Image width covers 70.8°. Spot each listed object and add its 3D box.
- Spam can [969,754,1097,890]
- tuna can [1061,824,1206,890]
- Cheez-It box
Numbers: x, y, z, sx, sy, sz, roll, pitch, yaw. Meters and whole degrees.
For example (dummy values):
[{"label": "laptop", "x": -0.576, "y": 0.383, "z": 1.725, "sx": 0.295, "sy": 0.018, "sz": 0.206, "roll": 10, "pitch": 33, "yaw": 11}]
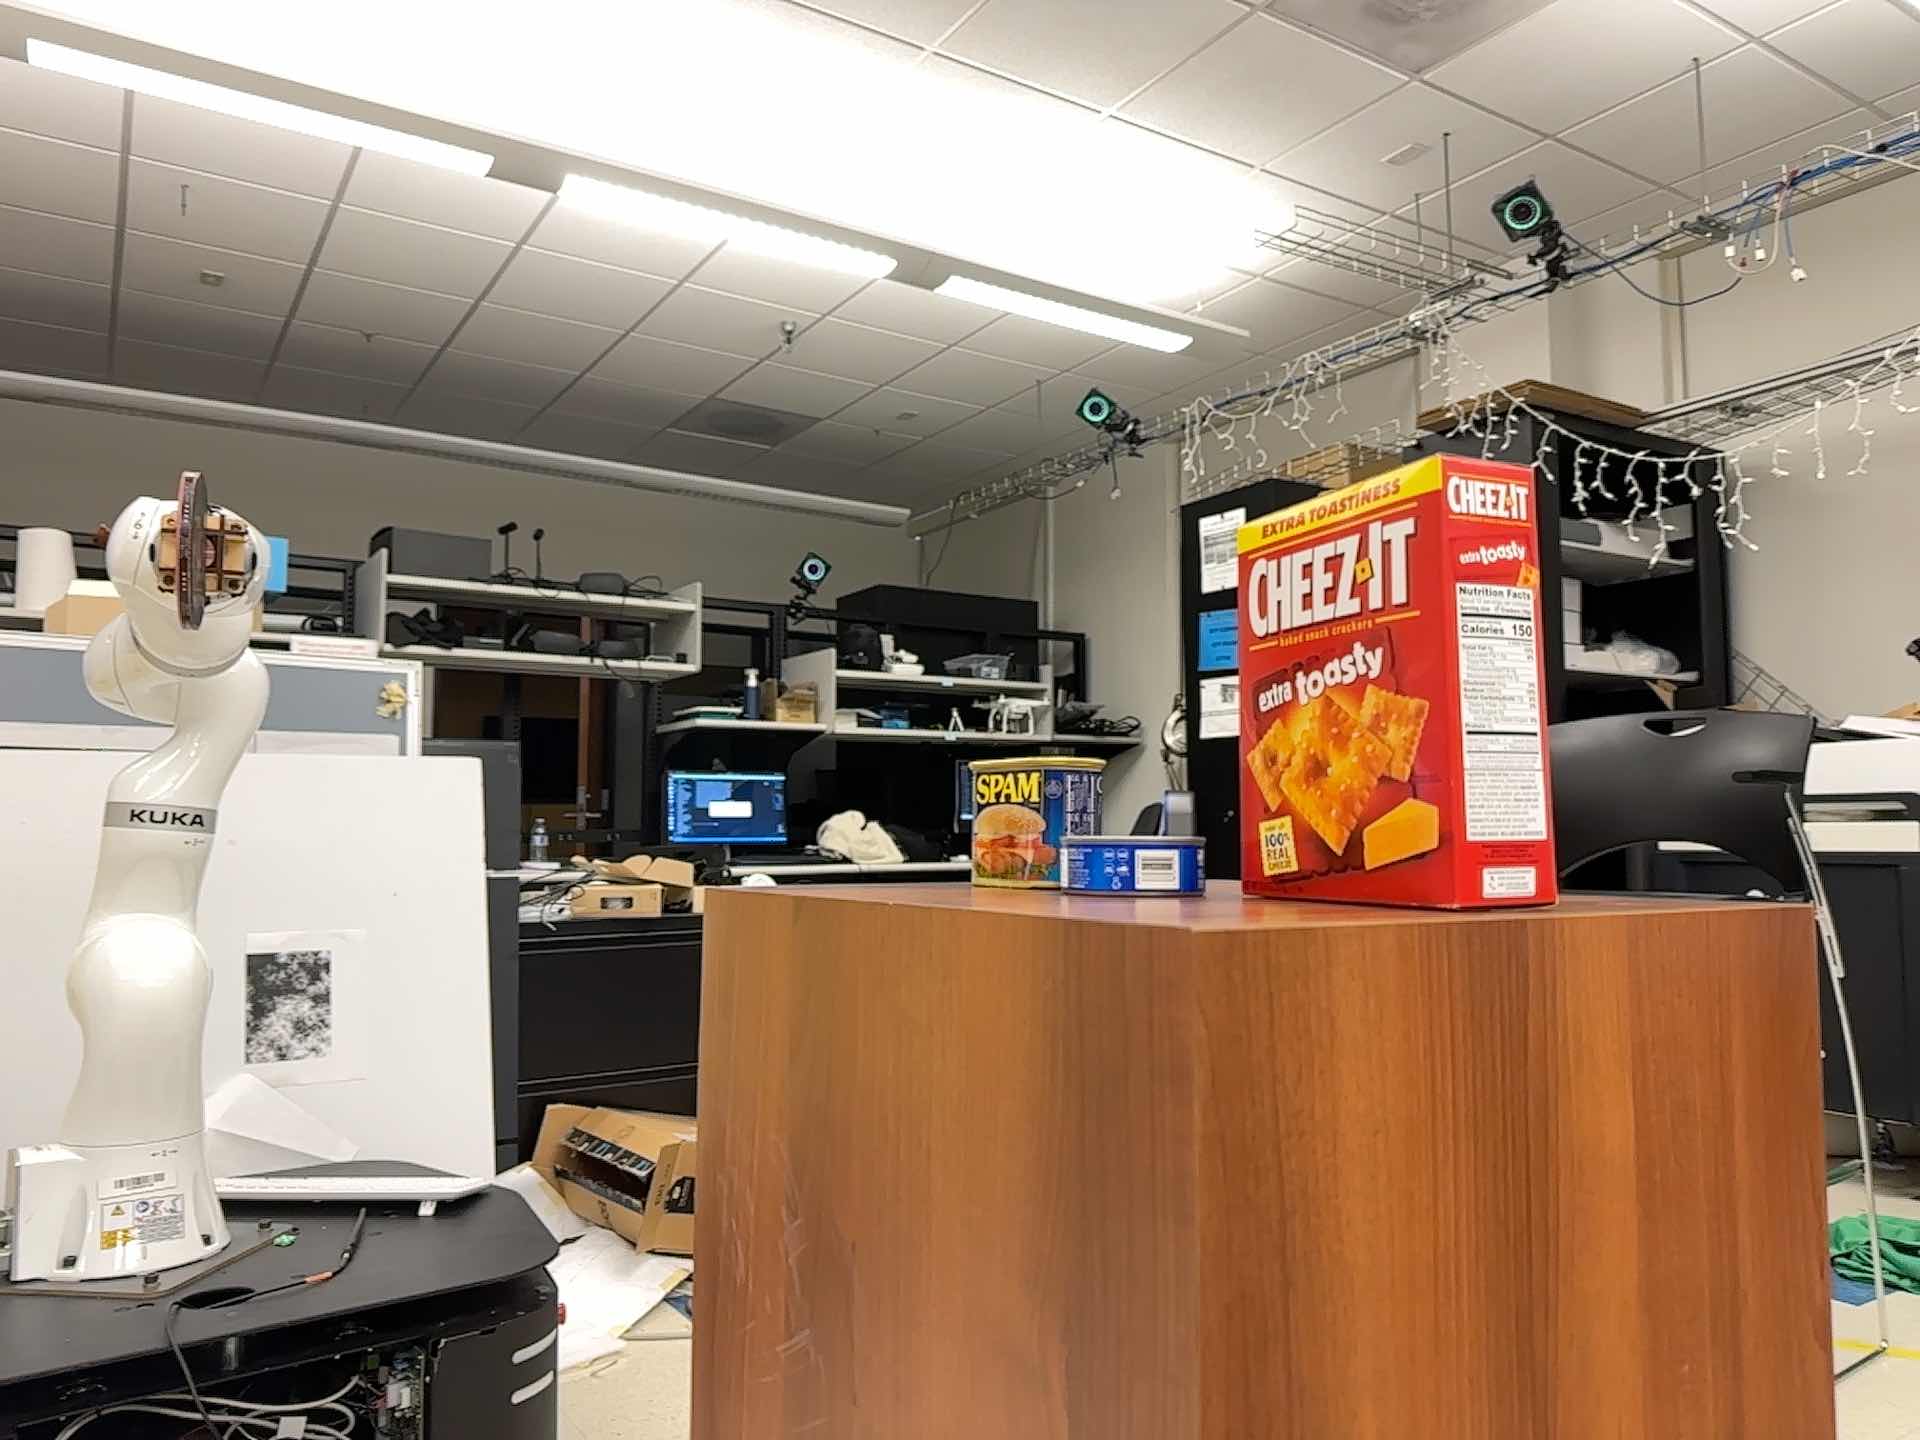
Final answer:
[{"label": "Spam can", "x": 0.047, "y": 0.070, "z": 0.896, "sx": 0.056, "sy": 0.083, "sz": 0.100, "roll": 3, "pitch": -8, "yaw": -24}, {"label": "tuna can", "x": 0.102, "y": 0.081, "z": 0.796, "sx": 0.083, "sy": 0.034, "sz": 0.083, "roll": 1, "pitch": -9, "yaw": 0}, {"label": "Cheez-It box", "x": 0.223, "y": -0.017, "z": 0.727, "sx": 0.062, "sy": 0.214, "sz": 0.159, "roll": 3, "pitch": -8, "yaw": -27}]
